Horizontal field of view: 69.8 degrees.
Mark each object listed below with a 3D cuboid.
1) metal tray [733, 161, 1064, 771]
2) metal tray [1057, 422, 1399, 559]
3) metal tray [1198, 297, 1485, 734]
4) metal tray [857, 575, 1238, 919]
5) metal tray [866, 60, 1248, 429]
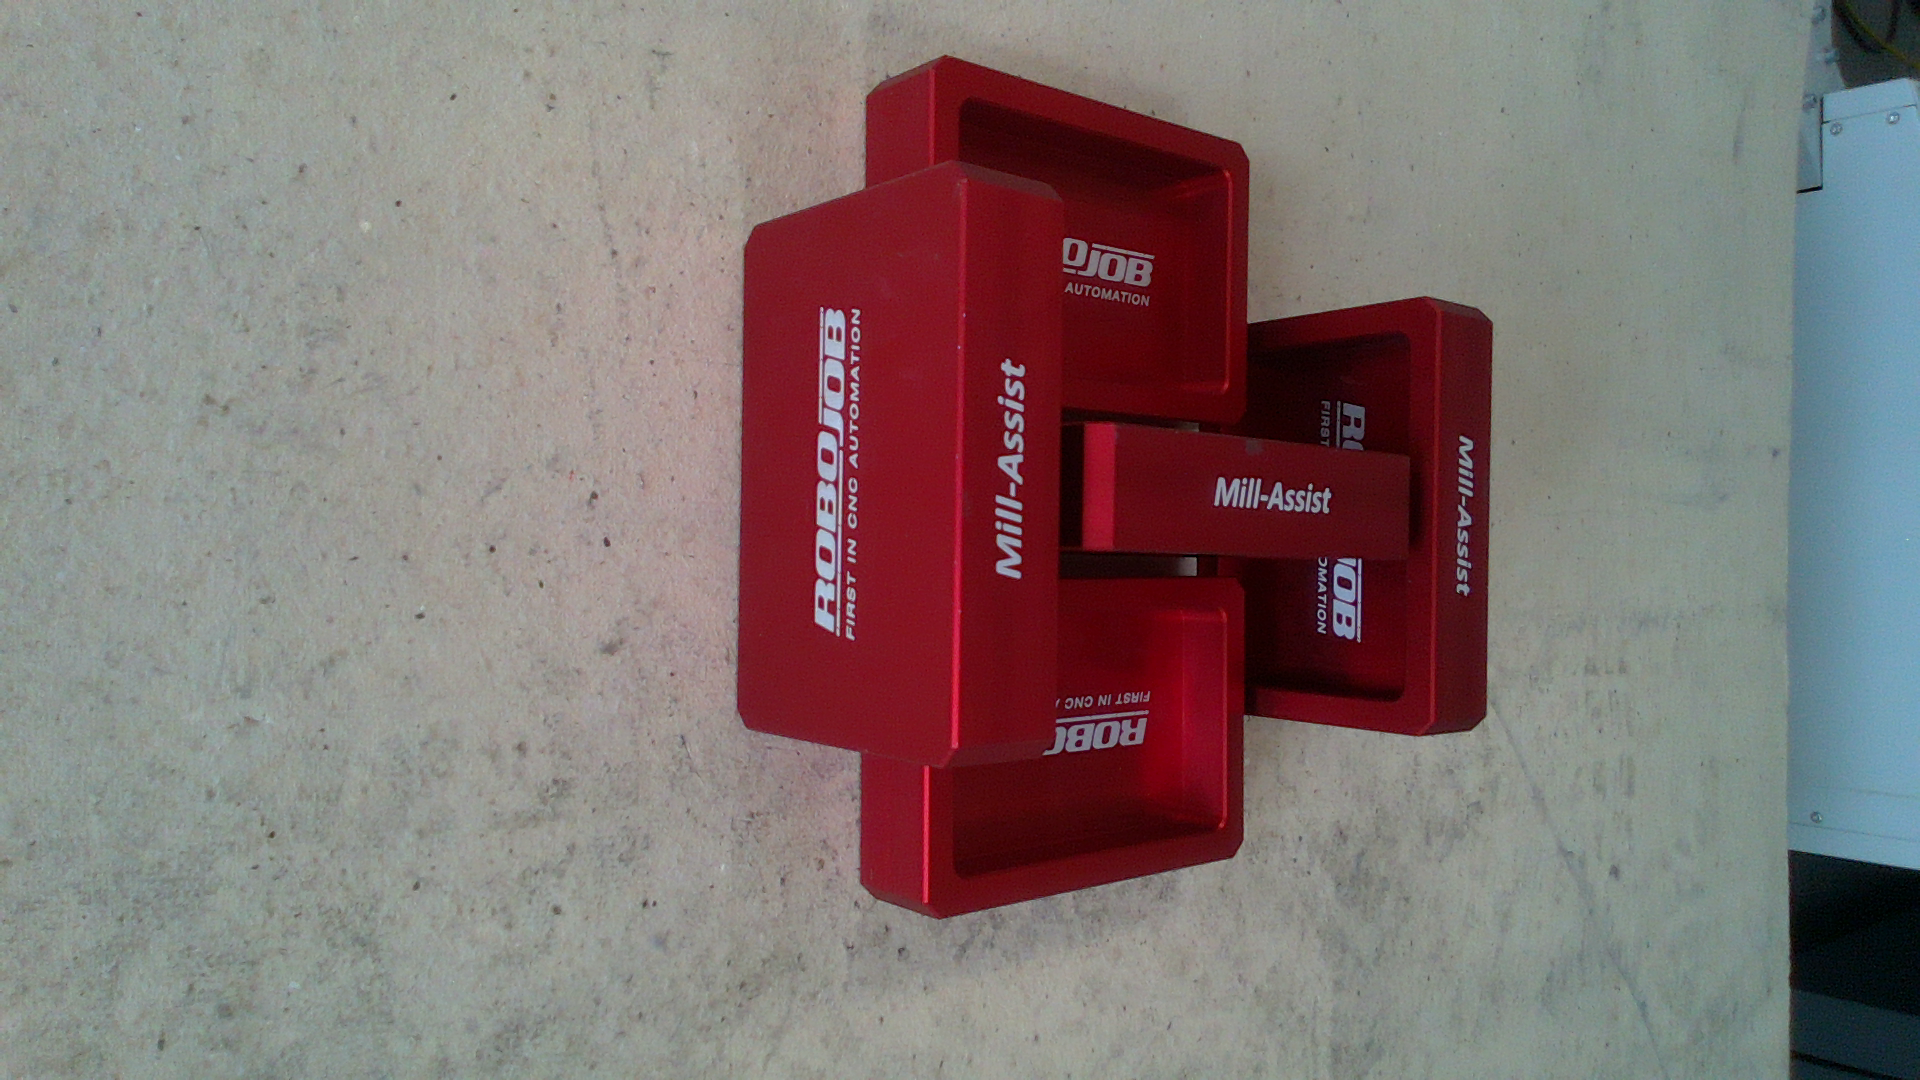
[{"bbox_3d":[-0.018,-0.016,0.332,0.030,0.090,0.130,1,90,-40],"label":"metal tray"},{"bbox_3d":[0.051,-0.012,0.391,0.131,0.090,0.030,2,90,-40],"label":"metal tray"},{"bbox_3d":[0.122,-0.007,0.448,0.030,0.090,0.130,2,89,-40],"label":"metal tray"},{"bbox_3d":[0.030,0.056,0.413,0.131,0.030,0.090,1,88,-40],"label":"metal tray"},{"bbox_3d":[0.032,-0.082,0.413,0.131,0.030,0.090,0,93,-40],"label":"metal tray"}]
